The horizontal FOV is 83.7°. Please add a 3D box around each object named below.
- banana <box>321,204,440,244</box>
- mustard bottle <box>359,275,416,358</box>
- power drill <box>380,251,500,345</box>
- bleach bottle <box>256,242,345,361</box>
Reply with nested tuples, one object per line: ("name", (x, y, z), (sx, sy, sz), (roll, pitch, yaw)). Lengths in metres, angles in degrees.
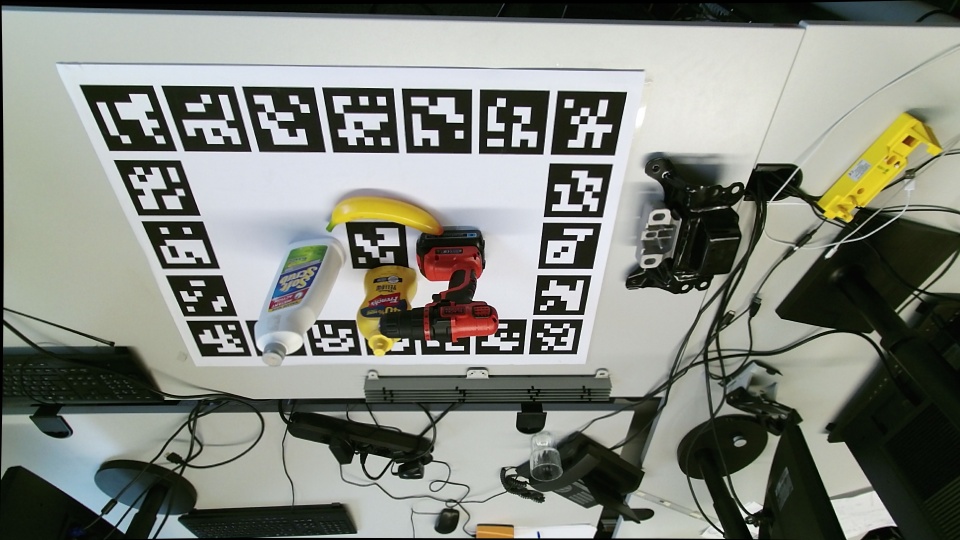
("banana", (-0.166, -0.074, 0.895), (0.198, 0.038, 0.074), (2, 122, -6))
("mustard bottle", (-0.165, 0.085, 0.919), (0.096, 0.190, 0.058), (2, 126, -2))
("power drill", (-0.060, 0.048, 0.872), (0.185, 0.186, 0.057), (0, 132, 2))
("bleach bottle", (-0.292, 0.048, 0.862), (0.103, 0.250, 0.068), (-6, 124, 3))
